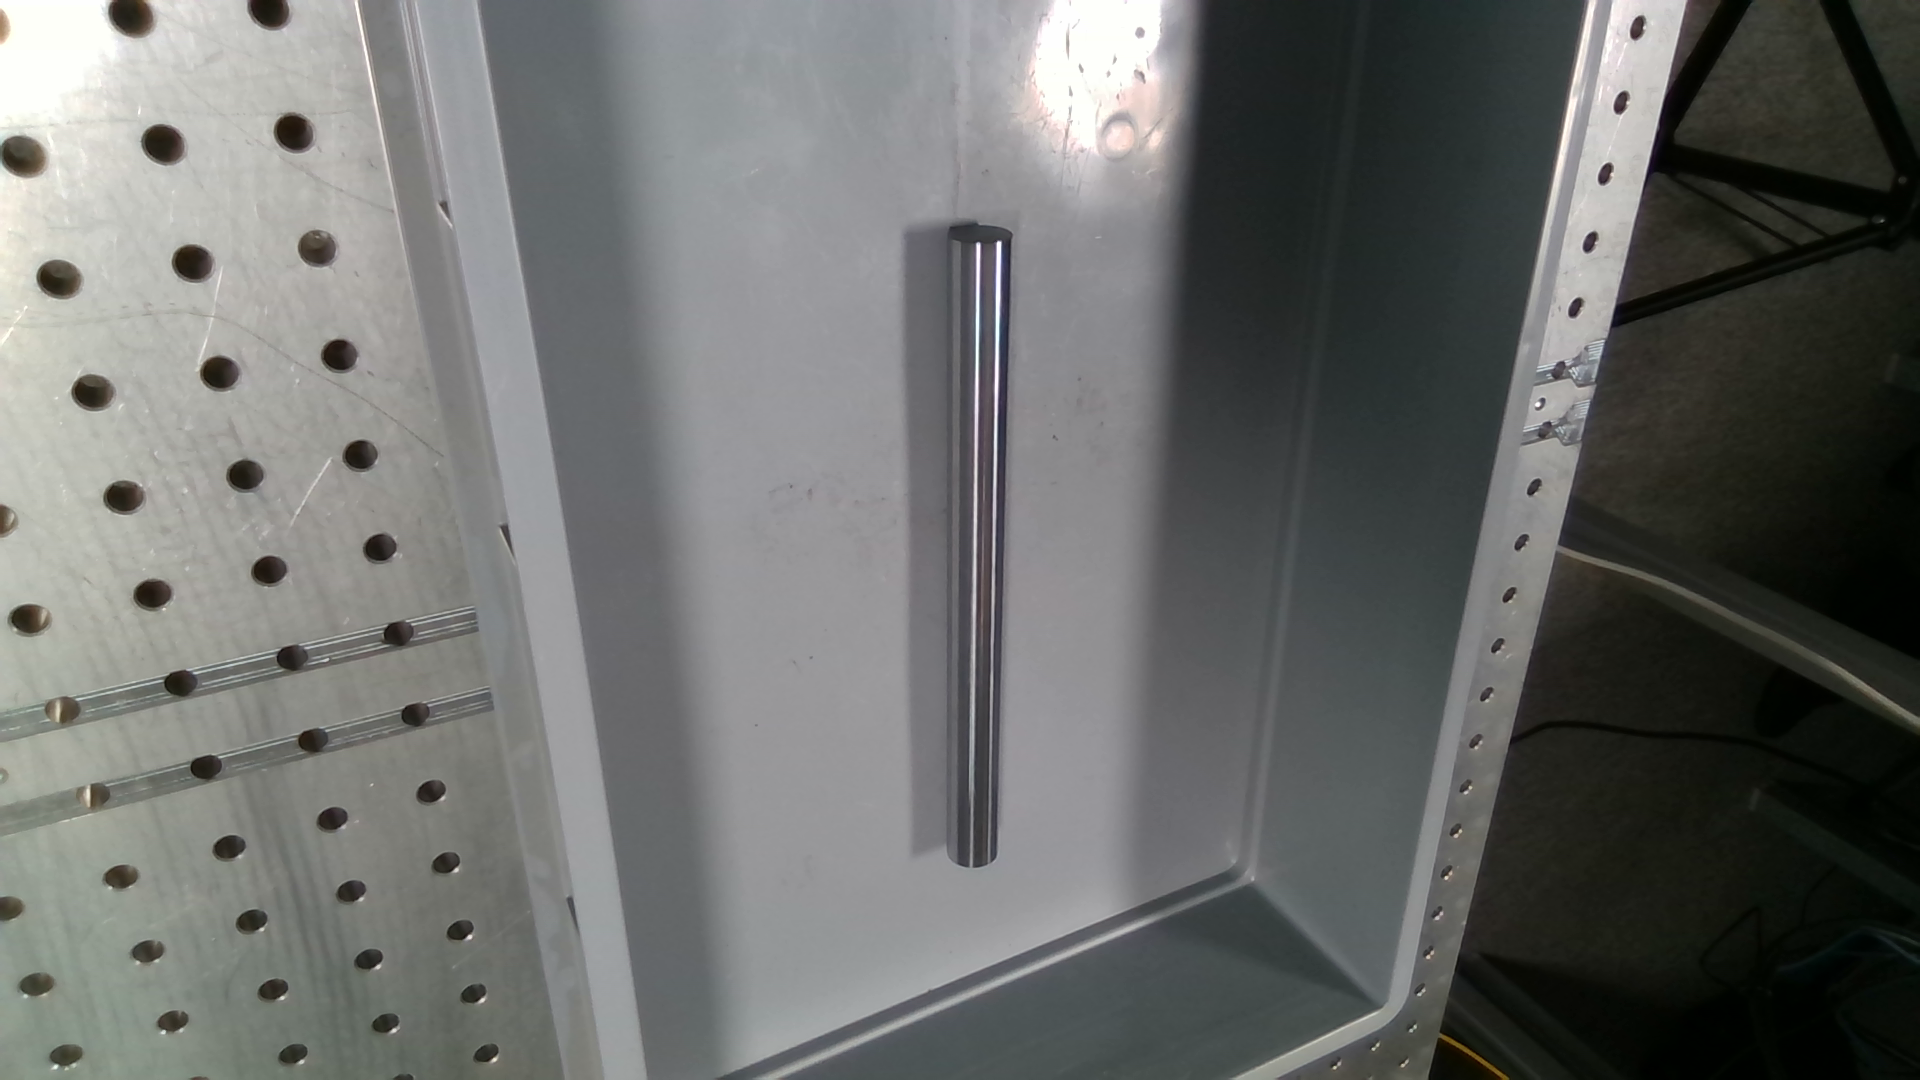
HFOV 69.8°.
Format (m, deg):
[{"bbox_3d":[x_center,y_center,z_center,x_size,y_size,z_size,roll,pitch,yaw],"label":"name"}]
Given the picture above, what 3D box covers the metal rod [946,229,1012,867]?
[{"bbox_3d":[0.006,0.017,0.591,0.025,0.025,0.301,-14,121,-25],"label":"metal rod"}]
